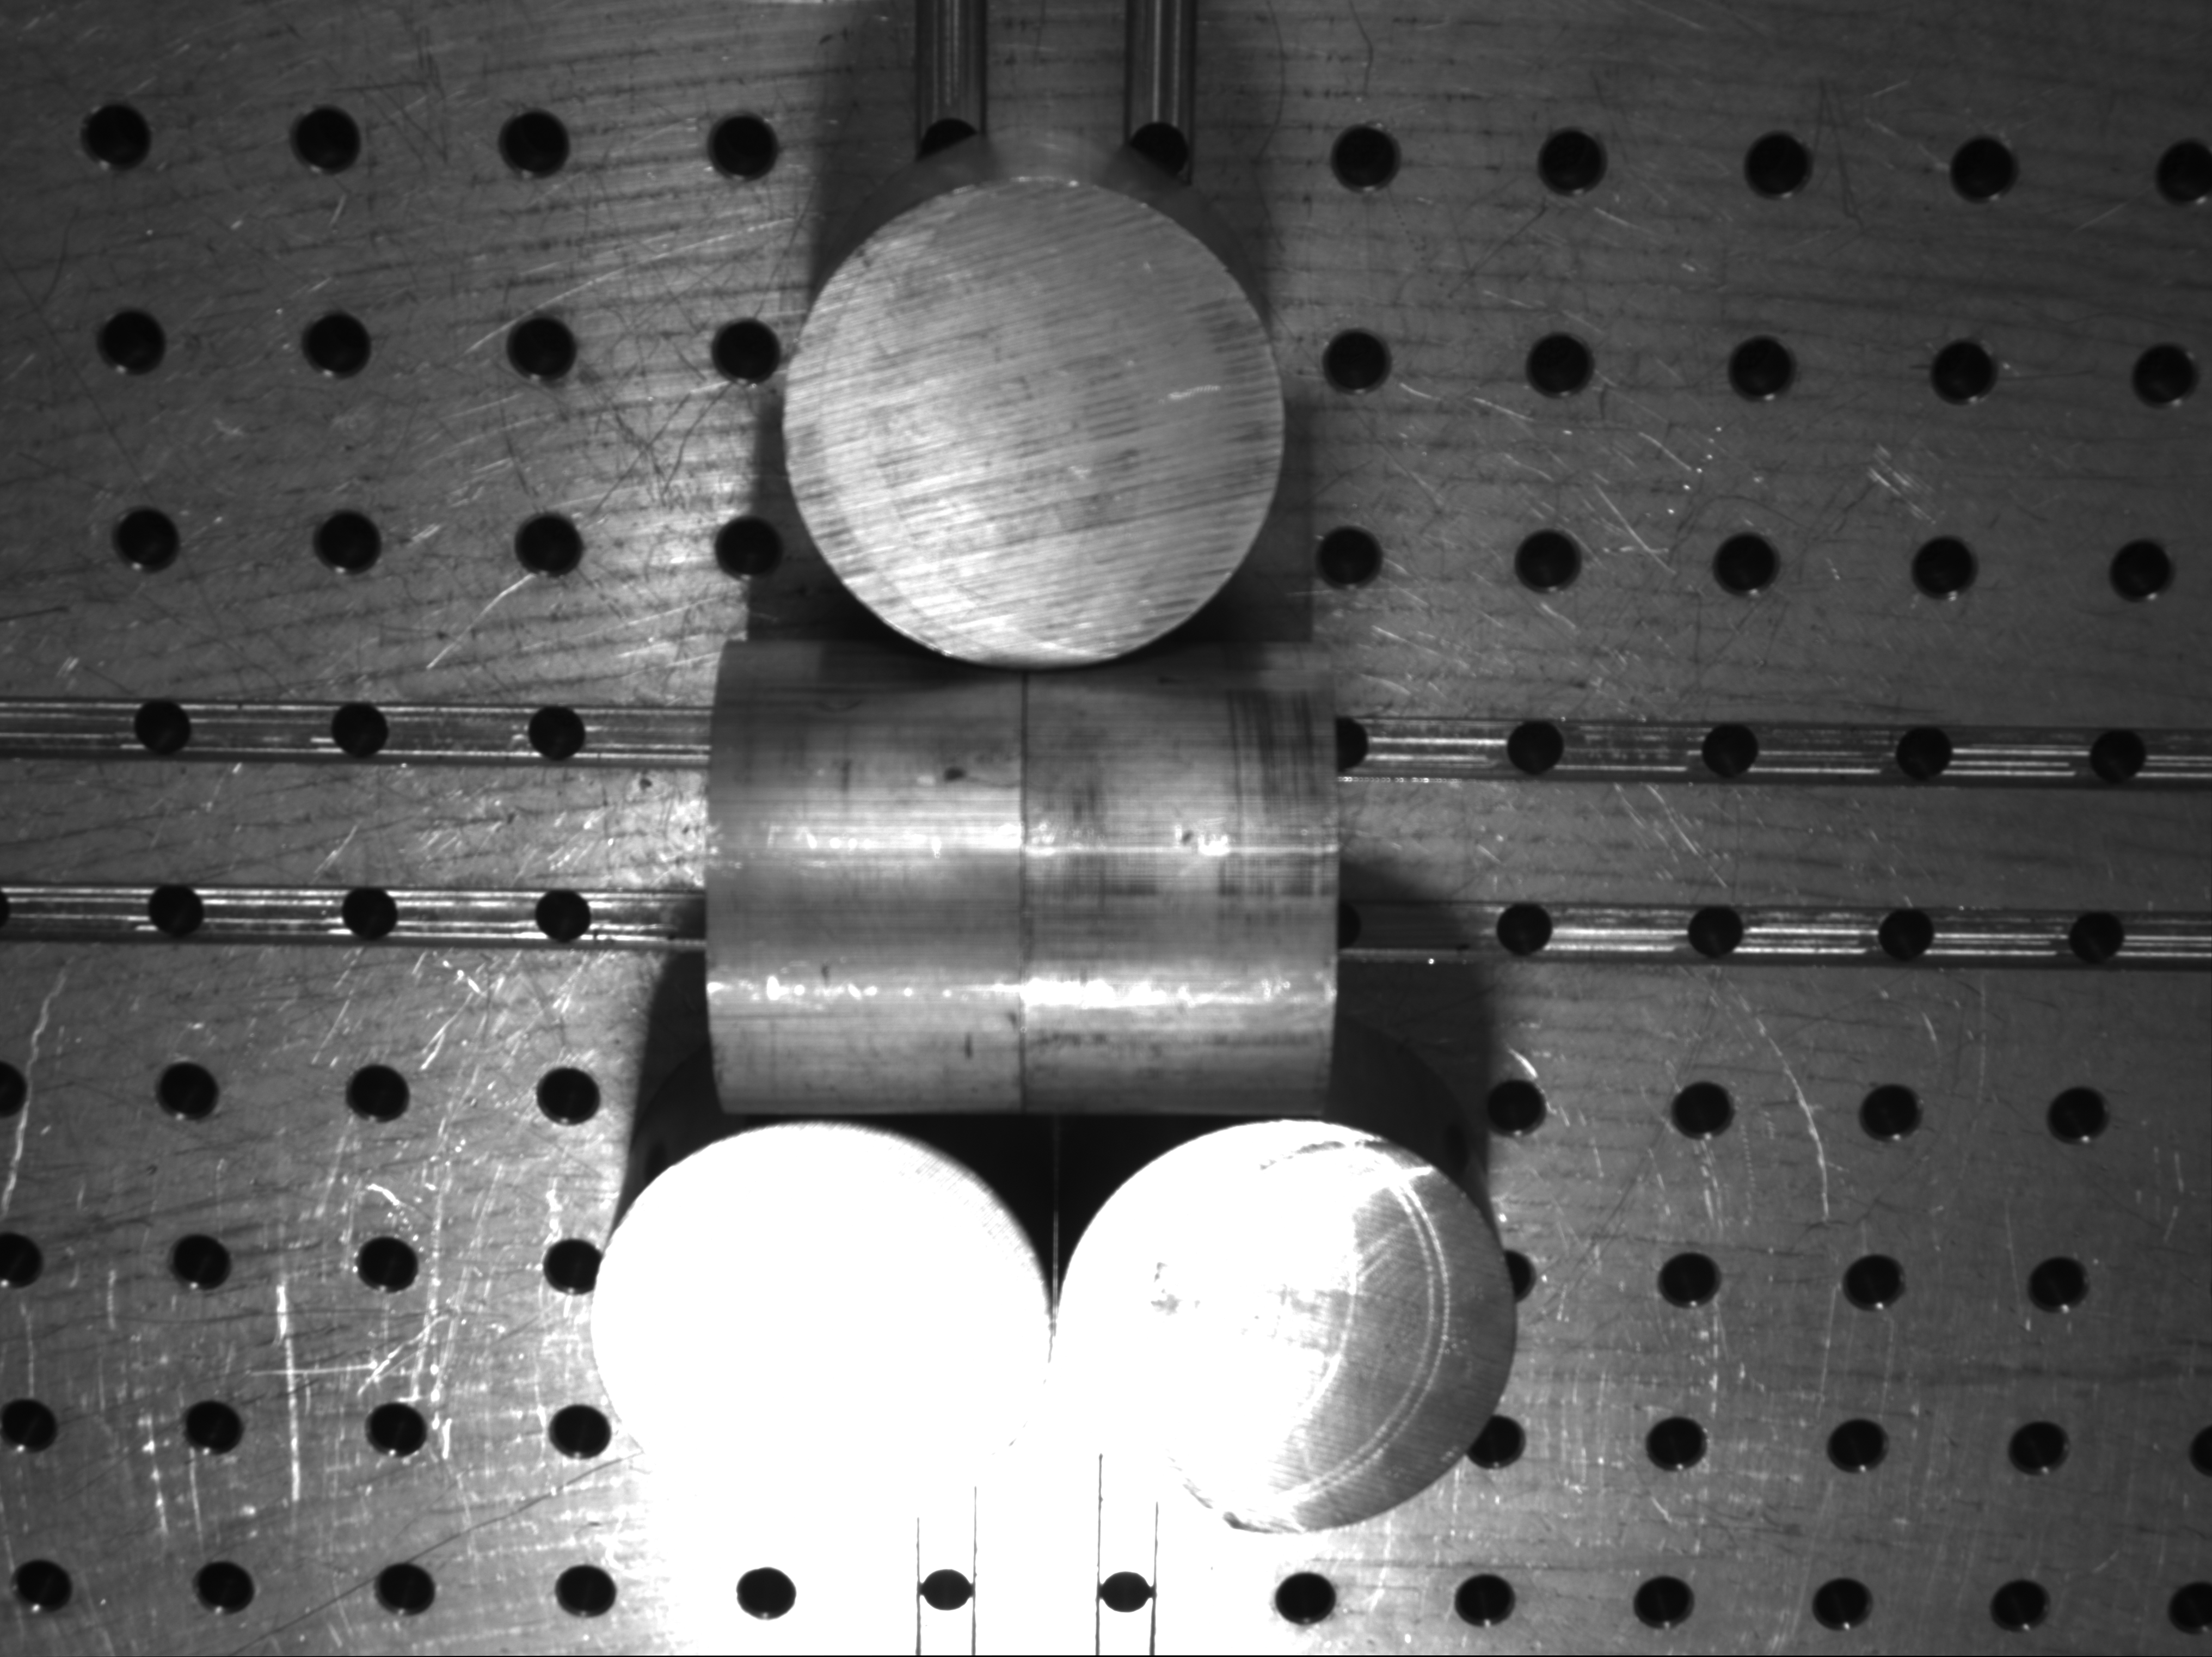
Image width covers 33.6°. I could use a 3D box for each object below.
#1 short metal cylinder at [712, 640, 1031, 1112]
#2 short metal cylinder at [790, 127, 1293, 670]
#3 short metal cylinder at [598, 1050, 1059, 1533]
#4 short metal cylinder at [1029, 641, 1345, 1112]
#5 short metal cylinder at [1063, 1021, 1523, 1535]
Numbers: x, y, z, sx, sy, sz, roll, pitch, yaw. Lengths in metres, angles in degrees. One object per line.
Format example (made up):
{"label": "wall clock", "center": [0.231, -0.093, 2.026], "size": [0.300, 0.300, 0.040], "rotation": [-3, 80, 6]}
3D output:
{"label": "short metal cylinder", "center": [-0.038, 0.008, 0.619], "size": [0.050, 0.080, 0.080], "rotation": [0, 110, -1]}
{"label": "short metal cylinder", "center": [-0.010, -0.072, 0.606], "size": [0.080, 0.050, 0.080], "rotation": [0, 110, -1]}
{"label": "short metal cylinder", "center": [-0.048, 0.079, 0.659], "size": [0.080, 0.050, 0.080], "rotation": [0, 110, -1]}
{"label": "short metal cylinder", "center": [0.012, 0.008, 0.620], "size": [0.050, 0.080, 0.080], "rotation": [0, 110, -1]}
{"label": "short metal cylinder", "center": [0.032, 0.079, 0.660], "size": [0.080, 0.050, 0.080], "rotation": [0, 110, -1]}
